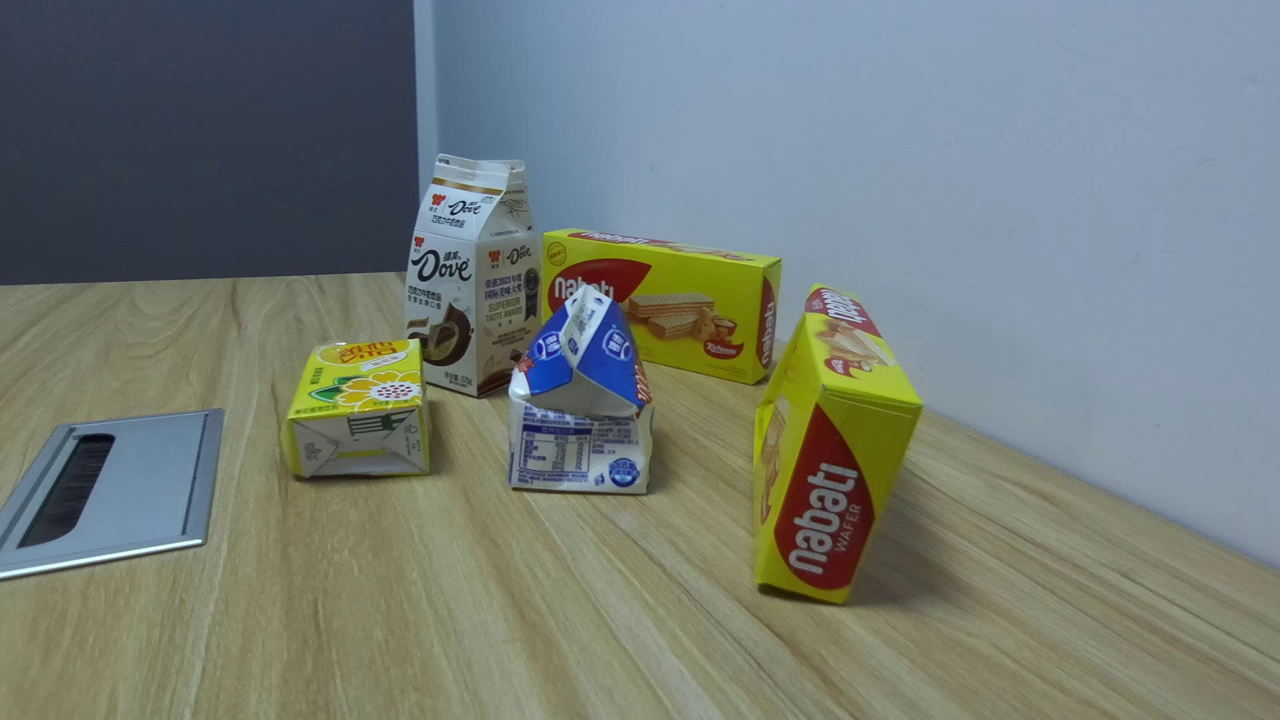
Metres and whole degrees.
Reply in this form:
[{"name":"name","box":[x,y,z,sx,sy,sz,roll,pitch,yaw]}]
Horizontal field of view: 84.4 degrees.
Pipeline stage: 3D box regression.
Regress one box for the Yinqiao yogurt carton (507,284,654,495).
[{"name":"Yinqiao yogurt carton","box":[-0.031,0.011,0.387,0.077,0.093,0.083,3,19,-2]}]

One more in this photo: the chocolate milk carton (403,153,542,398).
[{"name":"chocolate milk carton","box":[-0.119,-0.063,0.500,0.084,0.155,0.073,13,21,28]}]

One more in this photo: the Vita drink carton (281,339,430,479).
[{"name":"Vita drink carton","box":[-0.160,0.026,0.404,0.076,0.043,0.108,-6,22,-16]}]

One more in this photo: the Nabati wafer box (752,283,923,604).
[{"name":"Nabati wafer box","box":[0.102,0.025,0.397,0.042,0.096,0.203,12,23,5]}]

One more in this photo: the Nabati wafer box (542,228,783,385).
[{"name":"Nabati wafer box","box":[0.012,-0.047,0.577,0.202,0.093,0.042,13,18,28]}]
